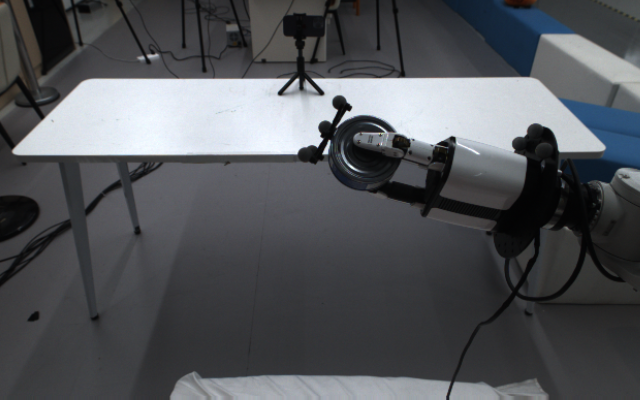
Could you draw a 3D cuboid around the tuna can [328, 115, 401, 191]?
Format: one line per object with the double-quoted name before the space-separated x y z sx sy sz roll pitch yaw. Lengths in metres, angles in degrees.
"tuna can" 0.056 -0.057 0.575 0.085 0.034 0.085 1 75 -5
